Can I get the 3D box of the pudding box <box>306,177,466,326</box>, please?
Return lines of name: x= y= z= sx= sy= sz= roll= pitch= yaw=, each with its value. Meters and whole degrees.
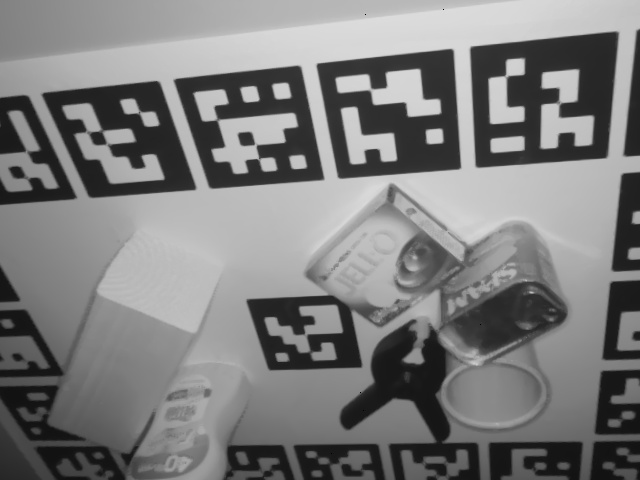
pudding box: x=0.057 y=0.012 z=0.607 sx=0.090 sy=0.039 sz=0.112 roll=38 pitch=122 yaw=-16

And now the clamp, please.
clamp: x=0.091 y=0.148 z=0.700 sx=0.122 sy=0.037 sz=0.163 roll=13 pitch=123 yaw=2

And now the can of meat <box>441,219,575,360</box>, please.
can of meat: x=0.153 y=0.039 z=0.577 sx=0.100 sy=0.084 sz=0.058 roll=-32 pitch=112 yaw=26

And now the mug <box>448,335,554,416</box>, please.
mug: x=0.164 y=0.113 z=0.660 sx=0.093 sy=0.082 sz=0.116 roll=15 pitch=123 yaw=-1

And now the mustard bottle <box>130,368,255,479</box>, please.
mustard bottle: x=-0.129 y=0.210 z=0.671 sx=0.095 sy=0.193 sz=0.058 roll=-8 pitch=121 yaw=14

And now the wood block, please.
wood block: x=-0.179 y=0.096 z=0.670 sx=0.090 sy=0.092 sz=0.203 roll=26 pitch=125 yaw=-11
